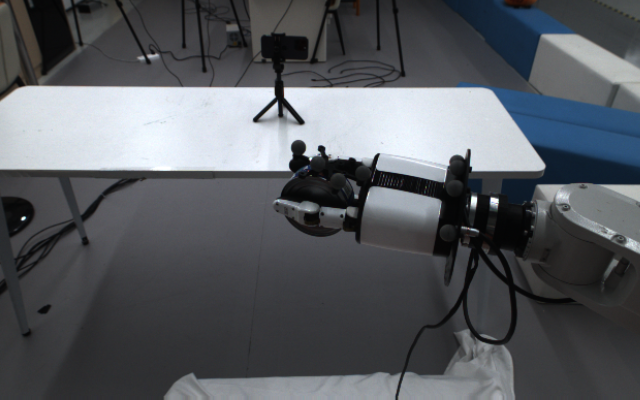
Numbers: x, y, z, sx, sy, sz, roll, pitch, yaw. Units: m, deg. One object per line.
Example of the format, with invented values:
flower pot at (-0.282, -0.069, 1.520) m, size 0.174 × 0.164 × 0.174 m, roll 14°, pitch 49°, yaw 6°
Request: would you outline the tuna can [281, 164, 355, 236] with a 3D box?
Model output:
tuna can at (0.000, -0.001, 0.586) m, size 0.085 × 0.085 × 0.034 m, roll 12°, pitch 33°, yaw 14°
